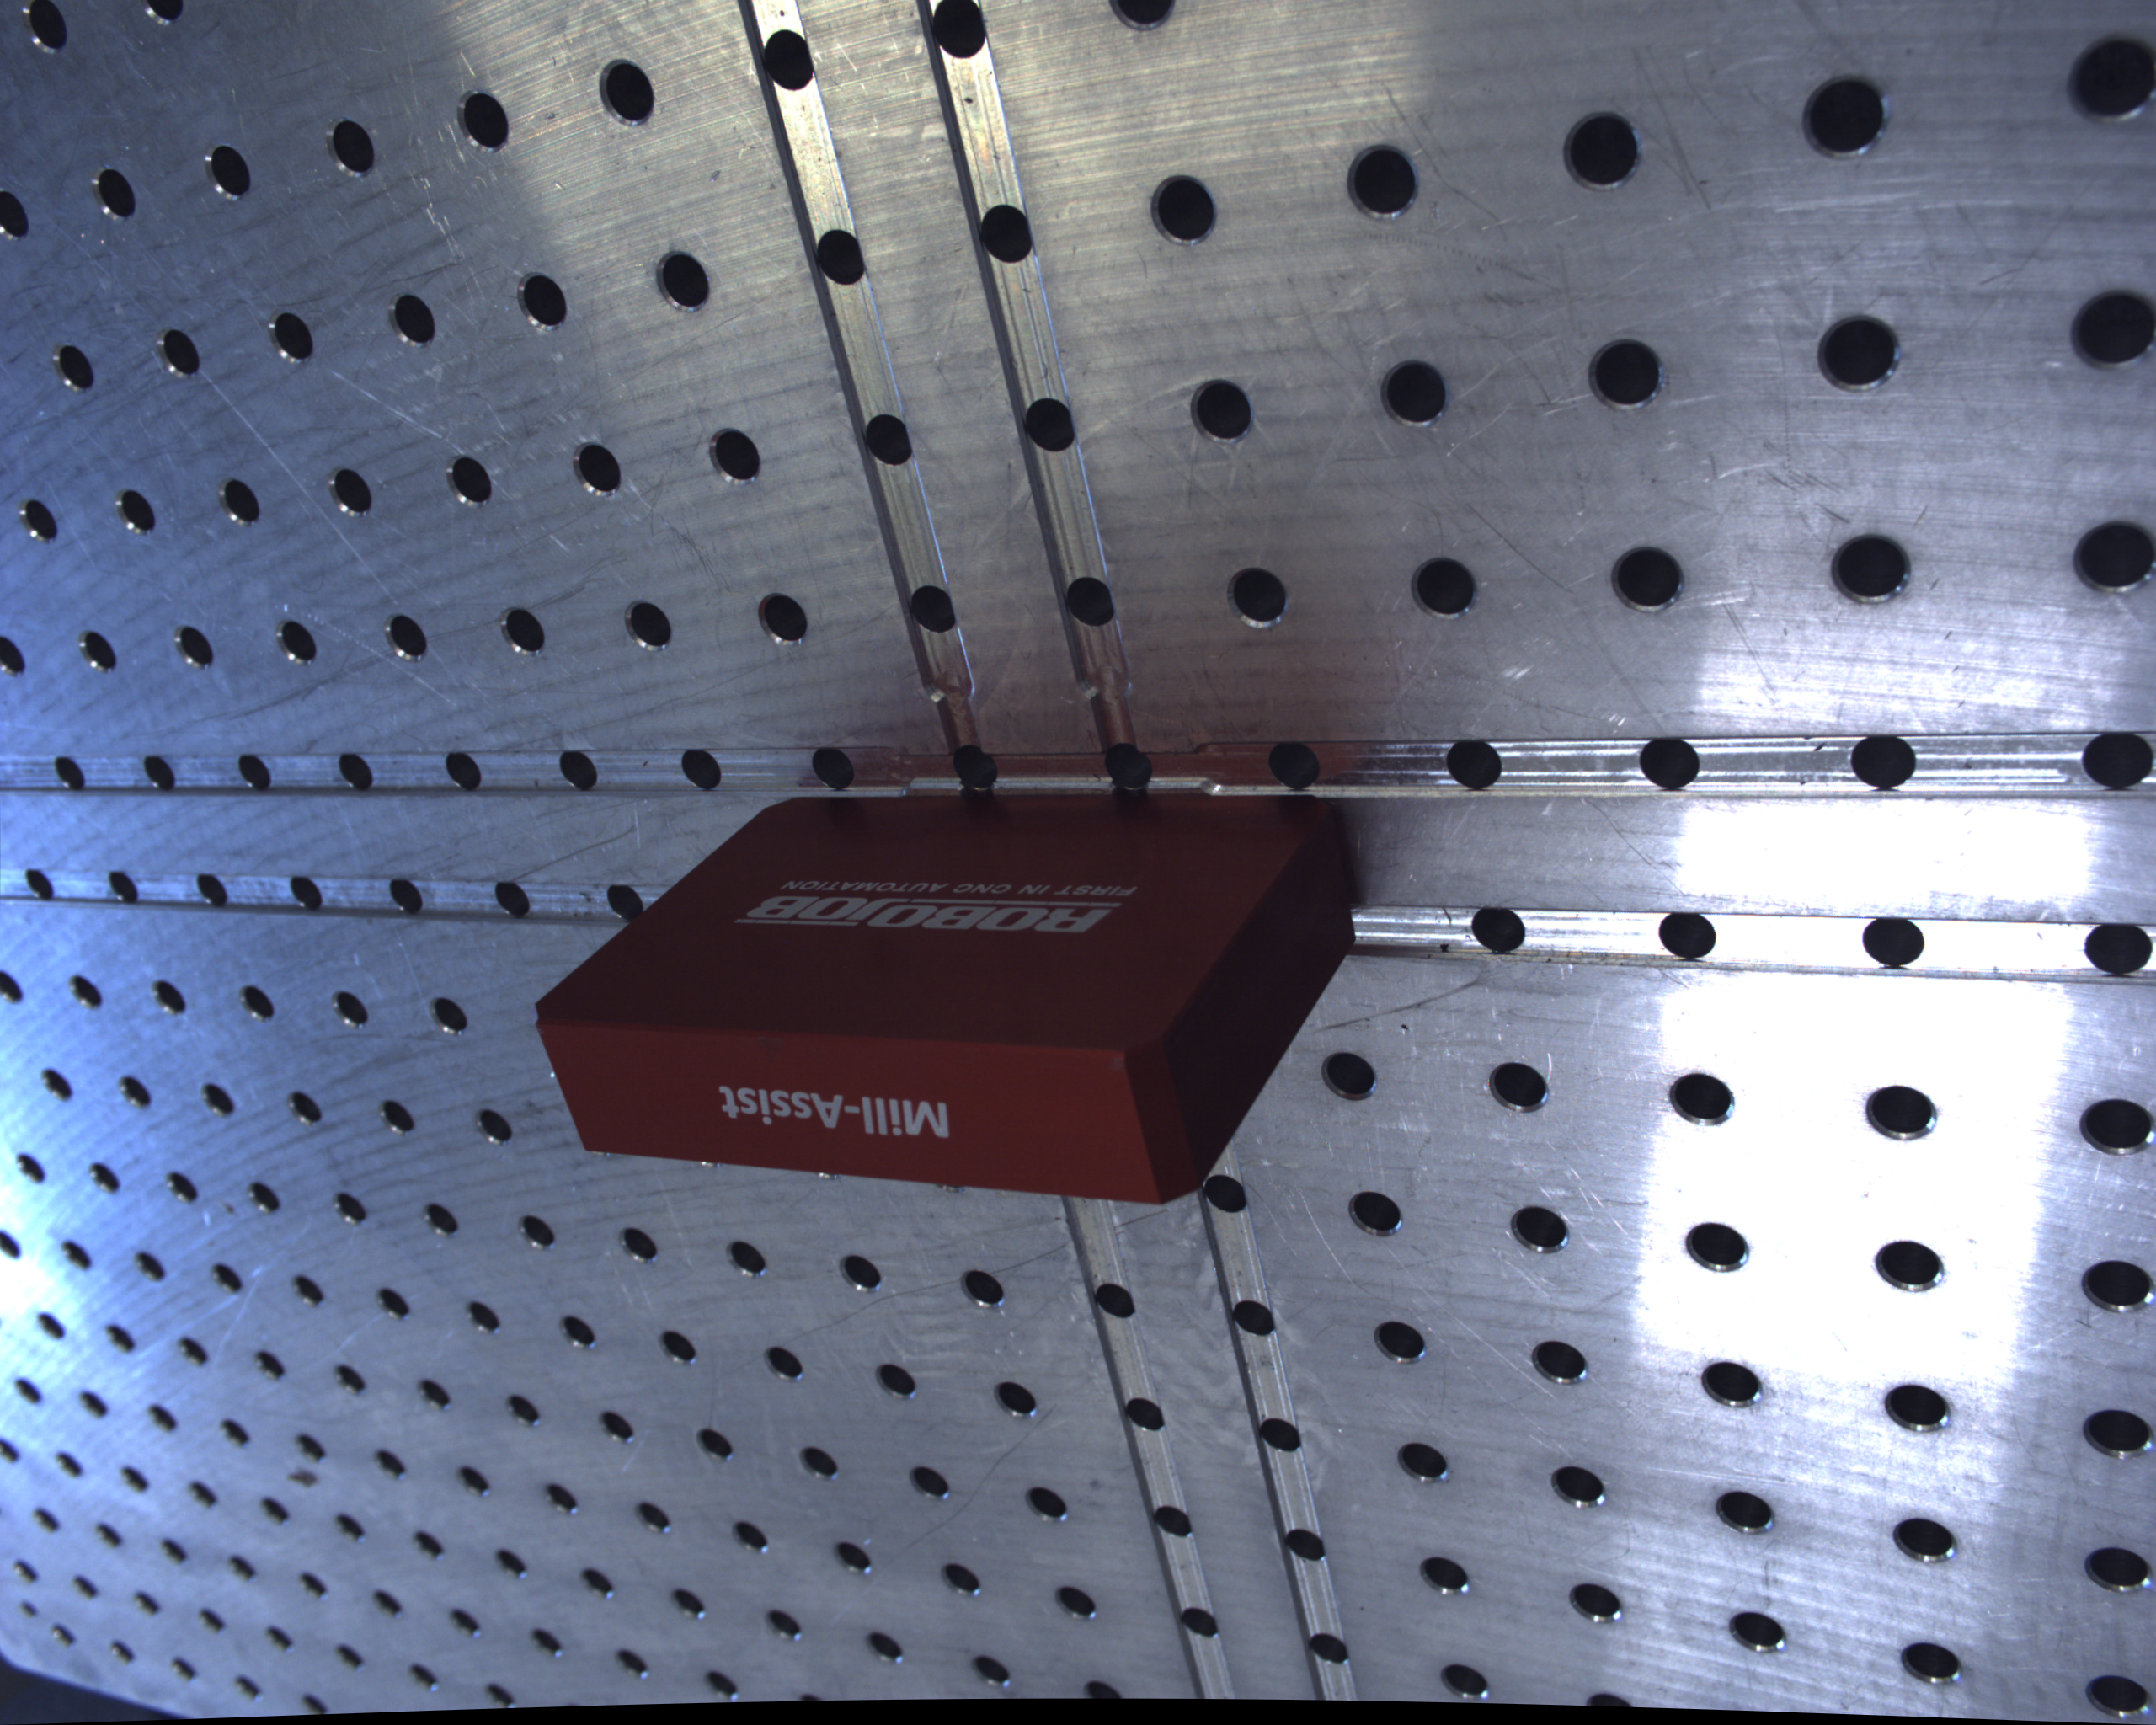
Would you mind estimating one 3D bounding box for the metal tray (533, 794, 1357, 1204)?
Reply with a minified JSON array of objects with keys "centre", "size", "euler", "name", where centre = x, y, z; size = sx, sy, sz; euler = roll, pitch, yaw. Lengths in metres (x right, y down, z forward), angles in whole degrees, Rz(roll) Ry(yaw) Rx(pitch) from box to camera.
[{"centre":[-0.024,0.021,0.395],"size":[0.130,0.090,0.030],"euler":[0,119,28],"name":"metal tray"}]
